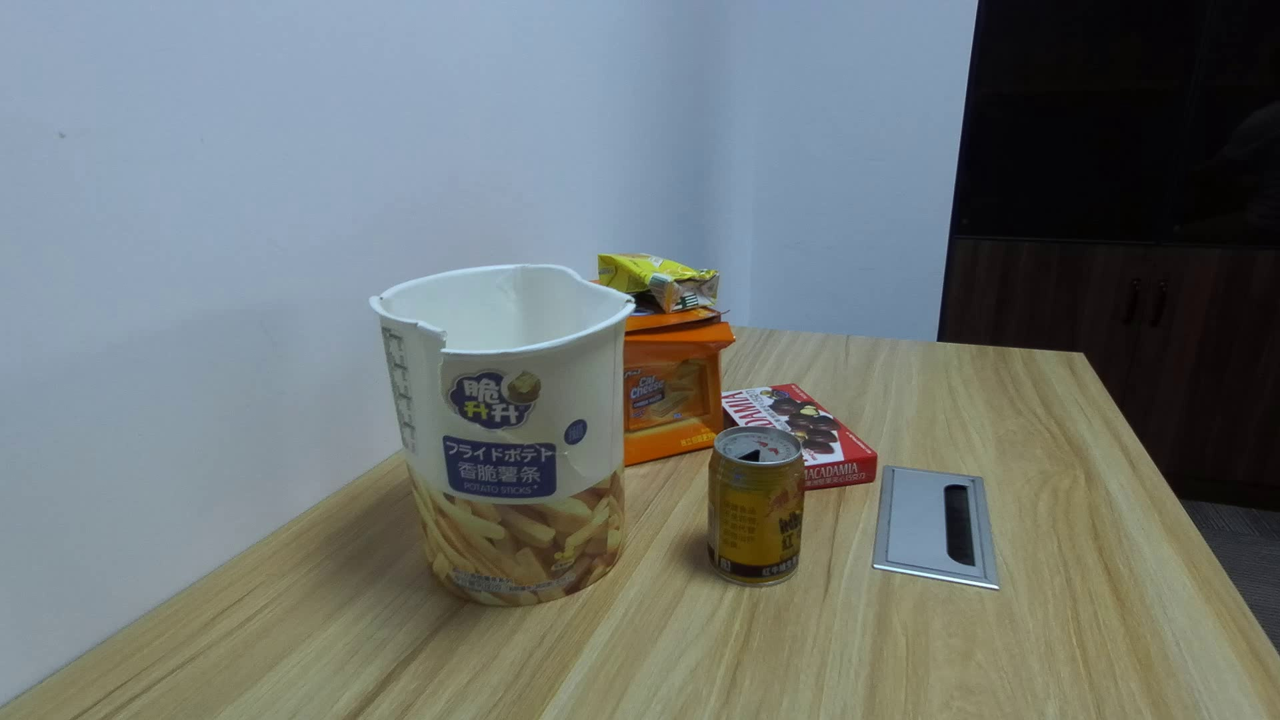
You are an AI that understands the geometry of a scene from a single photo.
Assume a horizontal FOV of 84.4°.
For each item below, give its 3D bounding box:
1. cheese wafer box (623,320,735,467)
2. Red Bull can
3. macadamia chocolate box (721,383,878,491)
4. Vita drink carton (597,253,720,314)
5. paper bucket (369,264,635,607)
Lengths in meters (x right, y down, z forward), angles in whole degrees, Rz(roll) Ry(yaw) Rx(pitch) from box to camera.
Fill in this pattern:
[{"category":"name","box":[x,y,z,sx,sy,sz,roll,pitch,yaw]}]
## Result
[{"category":"cheese wafer box","box":[-0.017,0.007,0.735,0.150,0.137,0.226,-9,17,-18]},{"category":"Red Bull can","box":[0.080,0.098,0.491,0.068,0.093,0.068,-1,21,1]},{"category":"macadamia chocolate box","box":[0.140,0.070,0.676,0.096,0.027,0.177,-6,20,-10]},{"category":"Vita drink carton","box":[0.017,-0.076,0.695,0.087,0.042,0.107,-9,22,-44]},{"category":"paper bucket","box":[-0.086,0.046,0.496,0.146,0.197,0.201,-17,25,-32]}]
